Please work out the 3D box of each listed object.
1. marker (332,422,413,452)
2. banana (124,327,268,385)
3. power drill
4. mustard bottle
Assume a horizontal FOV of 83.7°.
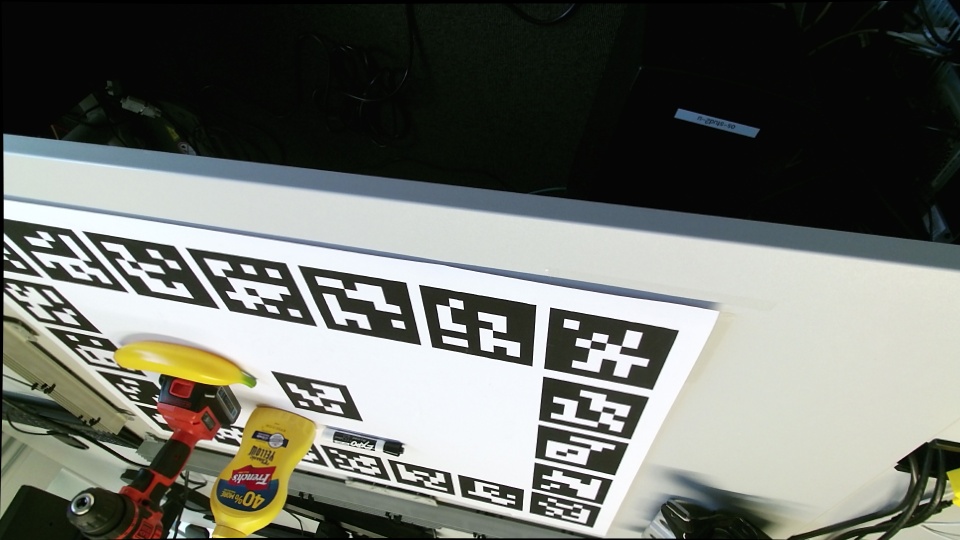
[{"bbox_3d":[-0.157,0.246,0.787,0.121,0.019,0.019,10,136,8],"label":"marker"},{"bbox_3d":[-0.379,0.107,0.702,0.198,0.038,0.074,13,136,2],"label":"banana"},{"bbox_3d":[-0.408,0.233,0.703,0.057,0.186,0.185,19,140,1],"label":"power drill"},{"bbox_3d":[-0.300,0.281,0.744,0.096,0.190,0.058,17,138,2],"label":"mustard bottle"}]
